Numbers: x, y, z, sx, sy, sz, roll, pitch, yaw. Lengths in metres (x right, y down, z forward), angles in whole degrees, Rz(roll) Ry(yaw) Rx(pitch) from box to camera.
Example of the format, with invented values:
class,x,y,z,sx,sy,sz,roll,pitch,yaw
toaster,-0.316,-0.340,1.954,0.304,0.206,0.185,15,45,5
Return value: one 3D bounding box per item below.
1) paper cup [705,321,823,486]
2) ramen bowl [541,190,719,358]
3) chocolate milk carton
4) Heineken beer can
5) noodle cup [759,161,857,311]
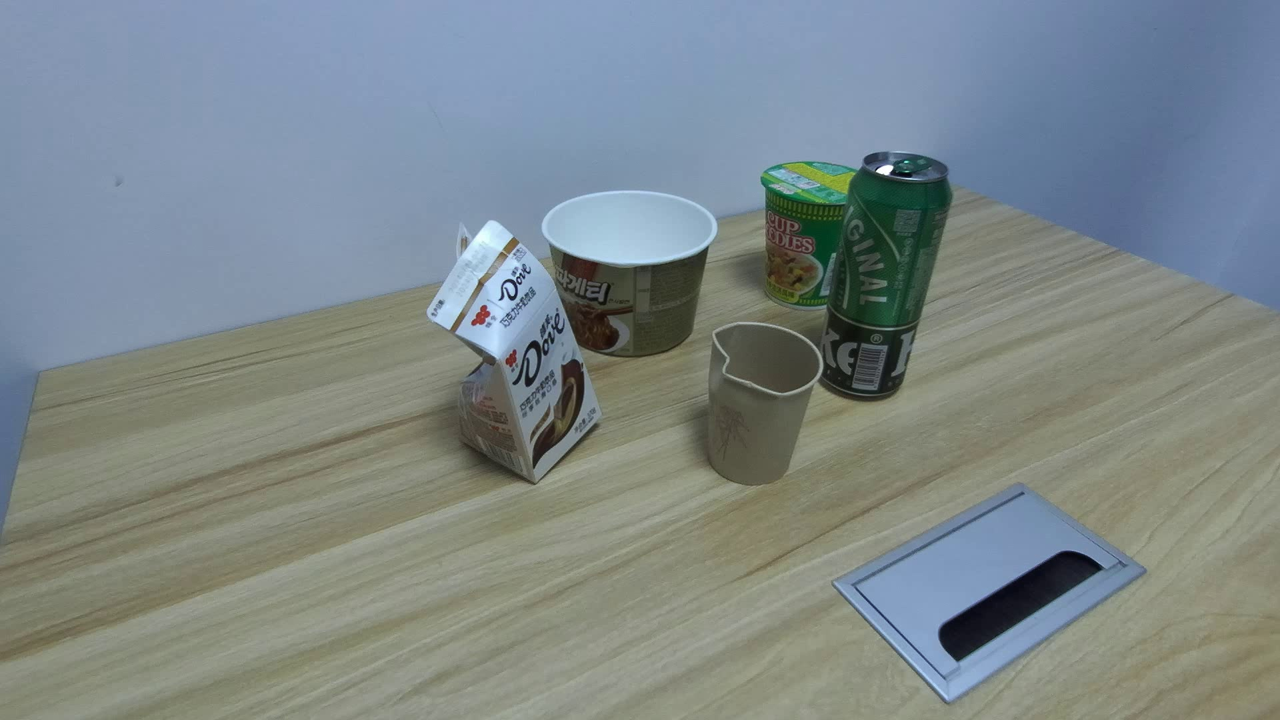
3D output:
class,x,y,z,sx,sy,sz,roll,pitch,yaw
paper cup,0.074,0.030,0.448,0.073,0.081,0.069,18,37,23
ramen bowl,-0.008,-0.070,0.585,0.140,0.095,0.140,2,34,-1
chocolate milk carton,-0.083,-0.004,0.446,0.076,0.156,0.089,16,50,29
Heineken beer can,0.170,-0.055,0.500,0.067,0.169,0.067,1,33,0
noodle cup,0.152,-0.106,0.622,0.097,0.110,0.097,1,33,0
